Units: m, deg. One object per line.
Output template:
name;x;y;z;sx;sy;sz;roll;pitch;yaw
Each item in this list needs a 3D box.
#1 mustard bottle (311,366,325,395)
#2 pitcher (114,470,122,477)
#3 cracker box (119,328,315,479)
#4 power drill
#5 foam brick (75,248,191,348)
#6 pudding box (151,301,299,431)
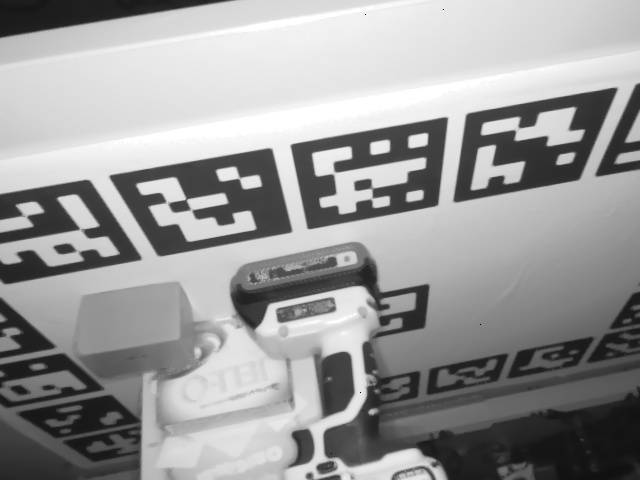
mustard bottle;0.009;0.218;0.672;0.097;0.192;0.057;1;140;-15
pitcher;-0.121;0.246;0.652;0.190;0.243;0.132;-5;142;-11
cracker box;-0.078;0.174;0.579;0.165;0.214;0.071;-11;144;-5
power drill;-0.010;0.110;0.490;0.185;0.188;0.057;-8;146;-4
foam brick;-0.143;0.044;0.538;0.078;0.051;0.052;-6;141;-7
pudding box;-0.080;0.101;0.575;0.114;0.090;0.038;-9;144;-8
